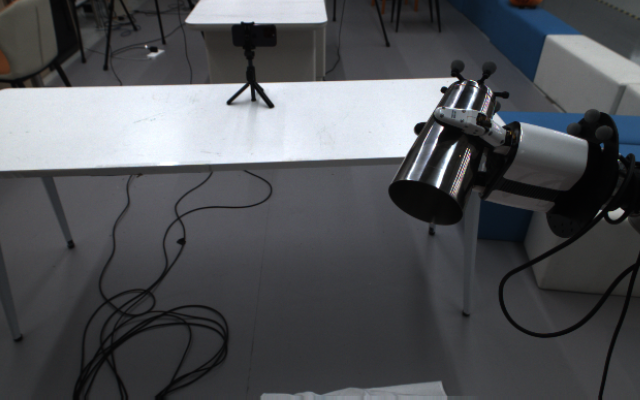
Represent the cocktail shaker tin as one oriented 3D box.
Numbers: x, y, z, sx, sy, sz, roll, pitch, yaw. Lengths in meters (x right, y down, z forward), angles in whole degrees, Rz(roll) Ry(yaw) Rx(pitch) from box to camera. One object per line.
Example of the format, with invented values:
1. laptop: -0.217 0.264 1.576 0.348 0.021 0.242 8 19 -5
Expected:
1. cocktail shaker tin: 0.162 -0.069 0.597 0.093 0.093 0.170 18 66 21
